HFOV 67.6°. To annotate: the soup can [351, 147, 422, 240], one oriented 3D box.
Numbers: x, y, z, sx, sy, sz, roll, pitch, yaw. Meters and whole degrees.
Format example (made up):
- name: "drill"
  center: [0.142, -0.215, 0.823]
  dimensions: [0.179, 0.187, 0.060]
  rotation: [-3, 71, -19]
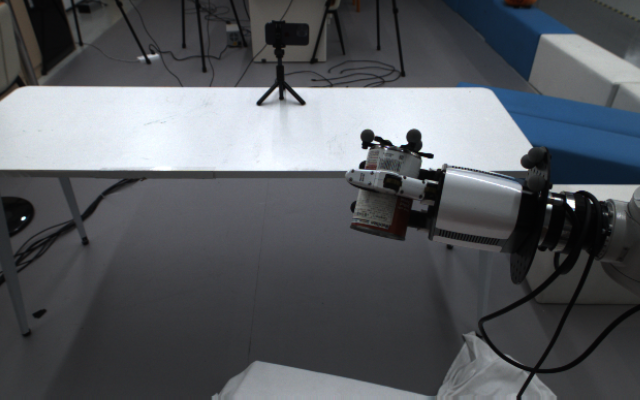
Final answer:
- name: "soup can"
  center: [0.082, -0.008, 0.586]
  dimensions: [0.067, 0.101, 0.067]
  rotation: [13, -6, 1]
